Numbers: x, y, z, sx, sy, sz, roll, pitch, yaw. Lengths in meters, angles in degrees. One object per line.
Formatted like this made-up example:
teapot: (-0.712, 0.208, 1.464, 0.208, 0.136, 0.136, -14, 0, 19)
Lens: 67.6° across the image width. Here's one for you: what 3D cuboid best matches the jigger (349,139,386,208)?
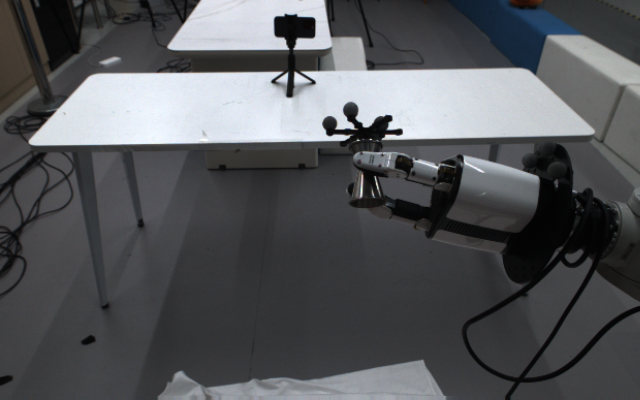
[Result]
jigger: (0.053, -0.030, 0.540, 0.043, 0.043, 0.071, 0, 75, -3)
